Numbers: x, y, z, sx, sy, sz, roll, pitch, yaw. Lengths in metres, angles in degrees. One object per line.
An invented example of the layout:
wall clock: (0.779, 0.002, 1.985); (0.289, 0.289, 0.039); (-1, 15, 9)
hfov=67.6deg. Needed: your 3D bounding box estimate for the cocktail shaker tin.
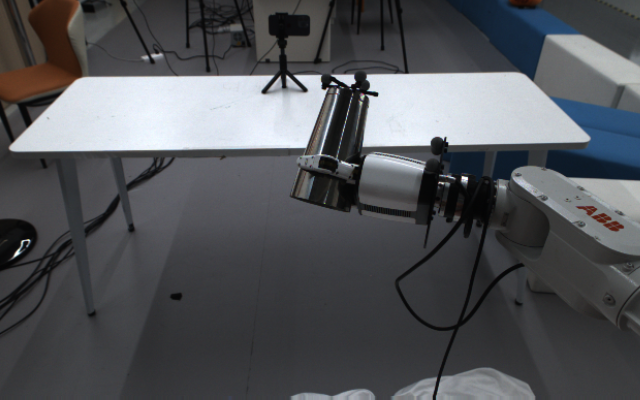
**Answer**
cocktail shaker tin: (0.020, -0.076, 0.717); (0.093, 0.170, 0.093); (15, -4, 1)
